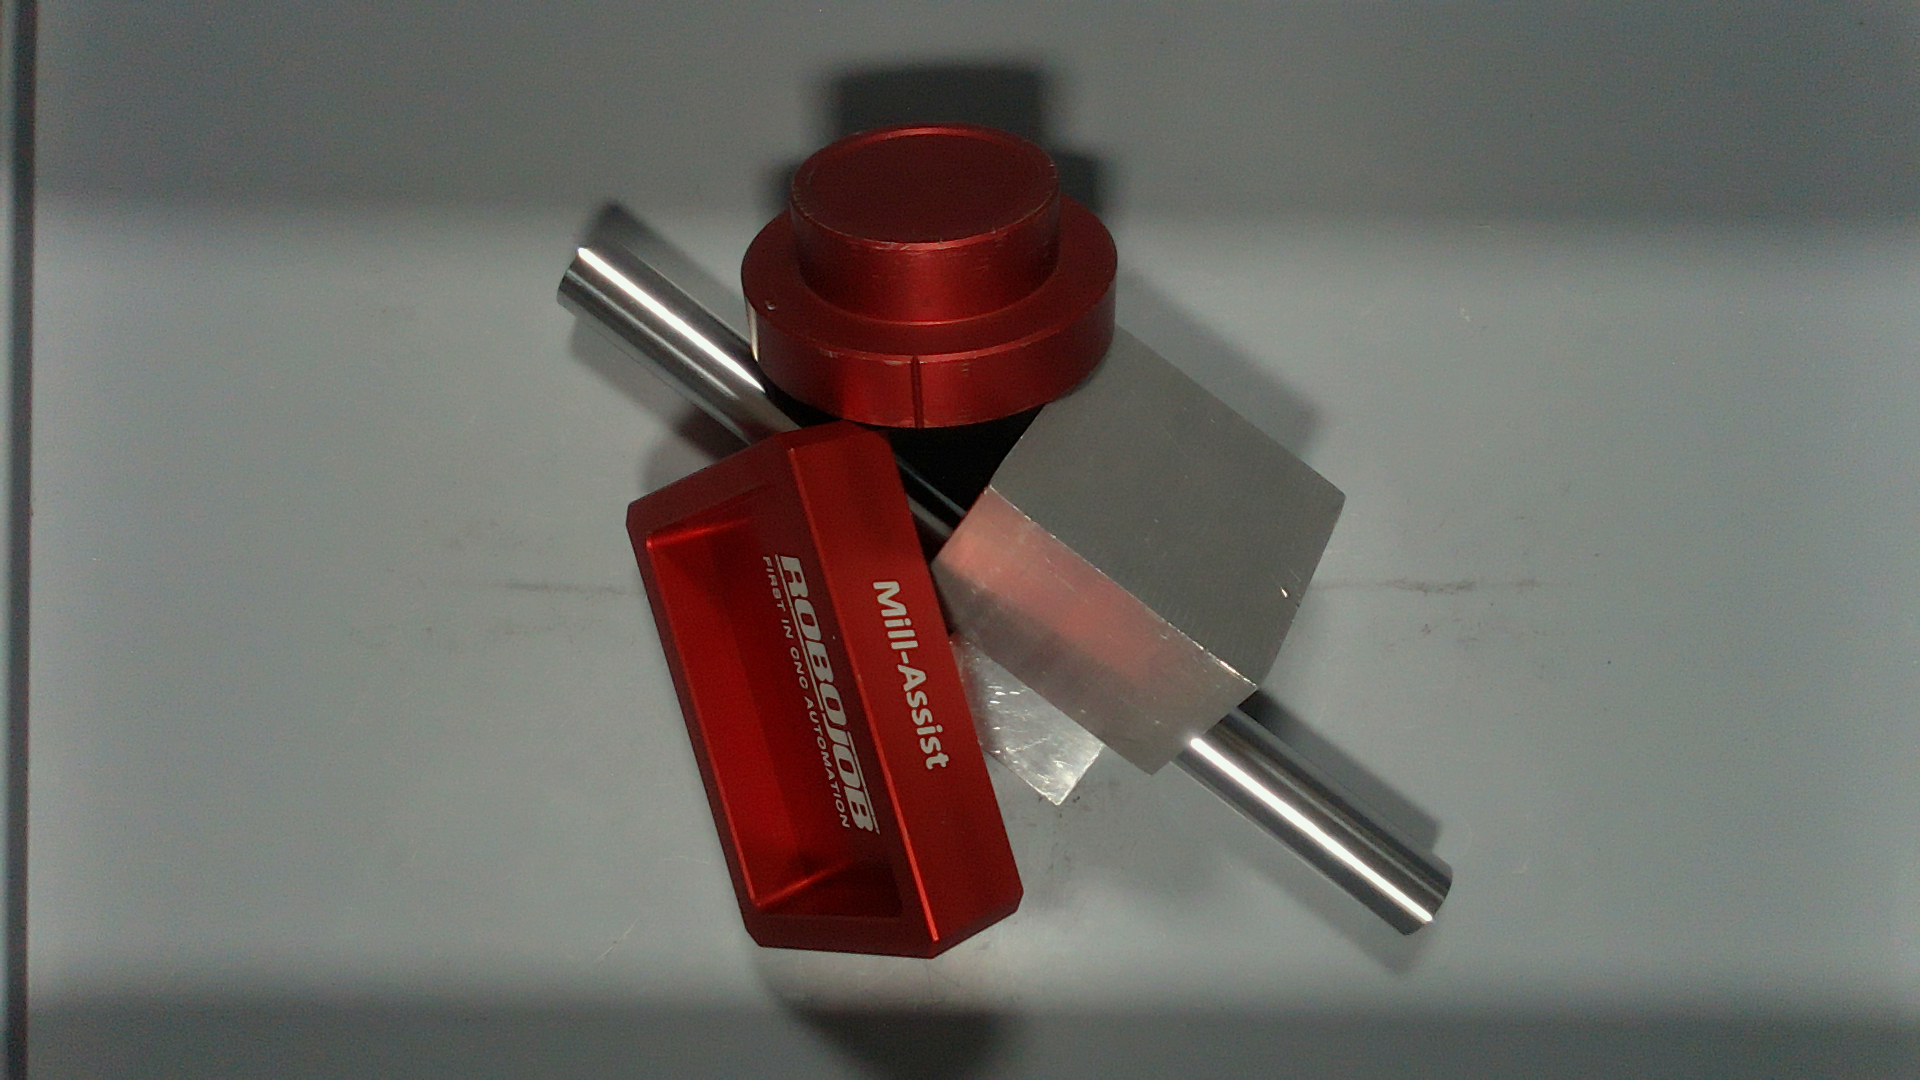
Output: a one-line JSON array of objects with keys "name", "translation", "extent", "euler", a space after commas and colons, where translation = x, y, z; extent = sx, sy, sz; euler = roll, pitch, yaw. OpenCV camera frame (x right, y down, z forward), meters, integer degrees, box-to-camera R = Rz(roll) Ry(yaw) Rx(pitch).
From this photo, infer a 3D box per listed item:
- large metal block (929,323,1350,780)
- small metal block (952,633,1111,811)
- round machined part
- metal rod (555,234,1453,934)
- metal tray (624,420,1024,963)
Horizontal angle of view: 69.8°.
[{"name": "large metal block", "translation": [0.045, 0.001, 0.362], "extent": [0.080, 0.050, 0.080], "euler": [37, 47, 0]}, {"name": "small metal block", "translation": [0.015, 0.045, 0.382], "extent": [0.050, 0.050, 0.025], "euler": [38, 90, 0]}, {"name": "round machined part", "translation": [-0.008, -0.074, 0.356], "extent": [0.098, 0.098, 0.042], "euler": [-2, 131, 0]}, {"name": "metal rod", "translation": [0.013, 0.013, 0.394], "extent": [0.300, 0.025, 0.025], "euler": [37, 90, 0]}, {"name": "metal tray", "translation": [-0.039, 0.042, 0.363], "extent": [0.030, 0.090, 0.130], "euler": [-17, 90, -40]}]
